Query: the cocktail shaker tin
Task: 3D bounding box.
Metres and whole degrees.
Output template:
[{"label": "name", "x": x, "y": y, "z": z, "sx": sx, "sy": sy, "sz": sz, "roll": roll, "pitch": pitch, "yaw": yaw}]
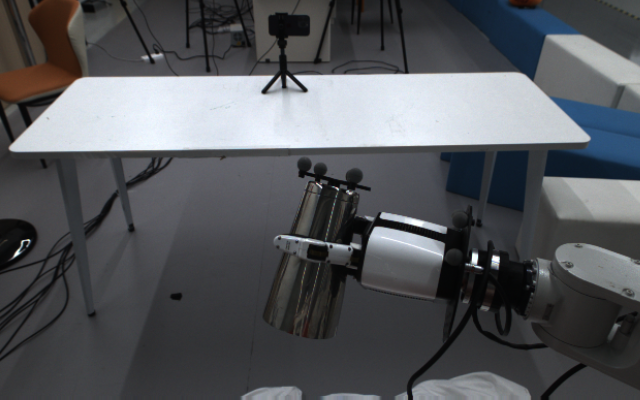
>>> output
[{"label": "cocktail shaker tin", "x": -0.004, "y": 0.068, "z": 0.581, "sx": 0.093, "sy": 0.170, "sz": 0.093, "roll": 14, "pitch": 2, "yaw": 0}]
